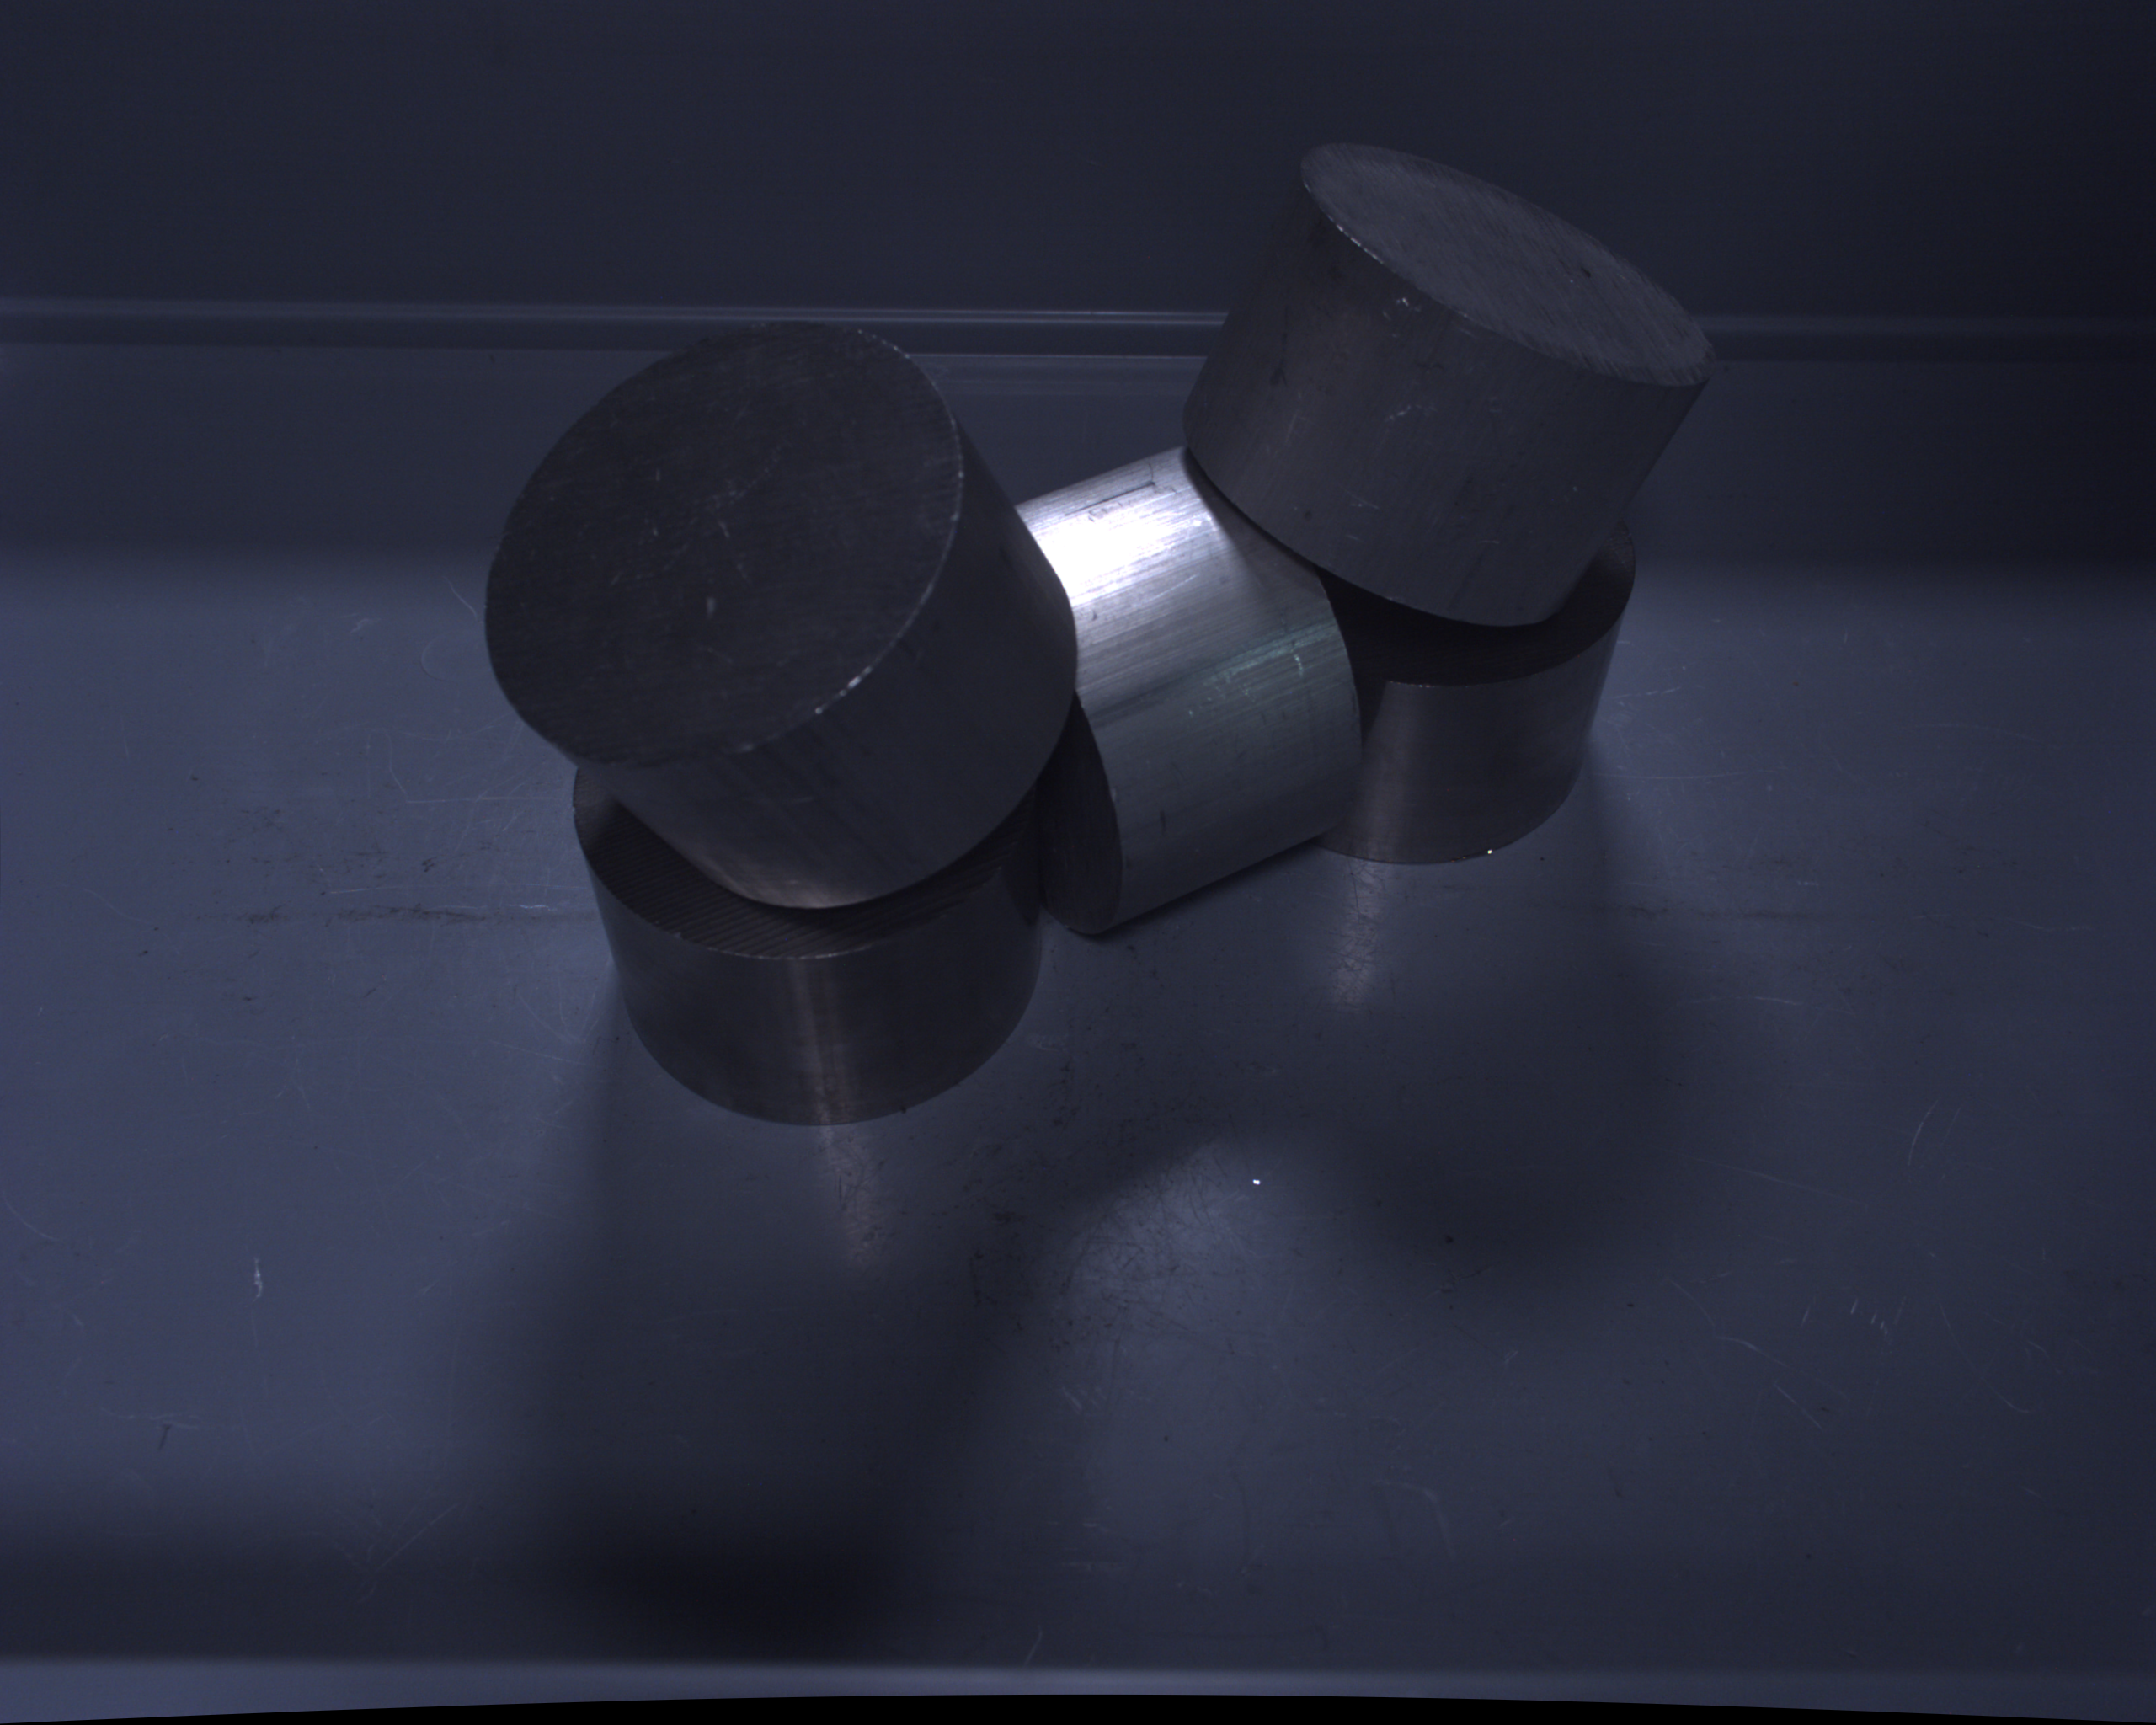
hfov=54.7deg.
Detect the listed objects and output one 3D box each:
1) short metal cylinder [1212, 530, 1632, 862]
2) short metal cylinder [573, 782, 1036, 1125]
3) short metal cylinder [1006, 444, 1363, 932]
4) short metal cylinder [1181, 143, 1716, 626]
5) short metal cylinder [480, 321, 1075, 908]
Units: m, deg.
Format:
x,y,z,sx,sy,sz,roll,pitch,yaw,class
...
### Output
x,y,z,sx,sy,sz,roll,pitch,yaw,class
0.067,-0.047,0.427,0.081,0.050,0.080,0,50,0,short metal cylinder
-0.048,0.001,0.385,0.081,0.050,0.080,0,50,0,short metal cylinder
0.010,-0.033,0.395,0.050,0.080,0.080,-24,54,-19,short metal cylinder
0.065,-0.087,0.376,0.081,0.050,0.080,18,35,-13,short metal cylinder
-0.047,-0.039,0.335,0.080,0.050,0.080,-9,62,17,short metal cylinder
